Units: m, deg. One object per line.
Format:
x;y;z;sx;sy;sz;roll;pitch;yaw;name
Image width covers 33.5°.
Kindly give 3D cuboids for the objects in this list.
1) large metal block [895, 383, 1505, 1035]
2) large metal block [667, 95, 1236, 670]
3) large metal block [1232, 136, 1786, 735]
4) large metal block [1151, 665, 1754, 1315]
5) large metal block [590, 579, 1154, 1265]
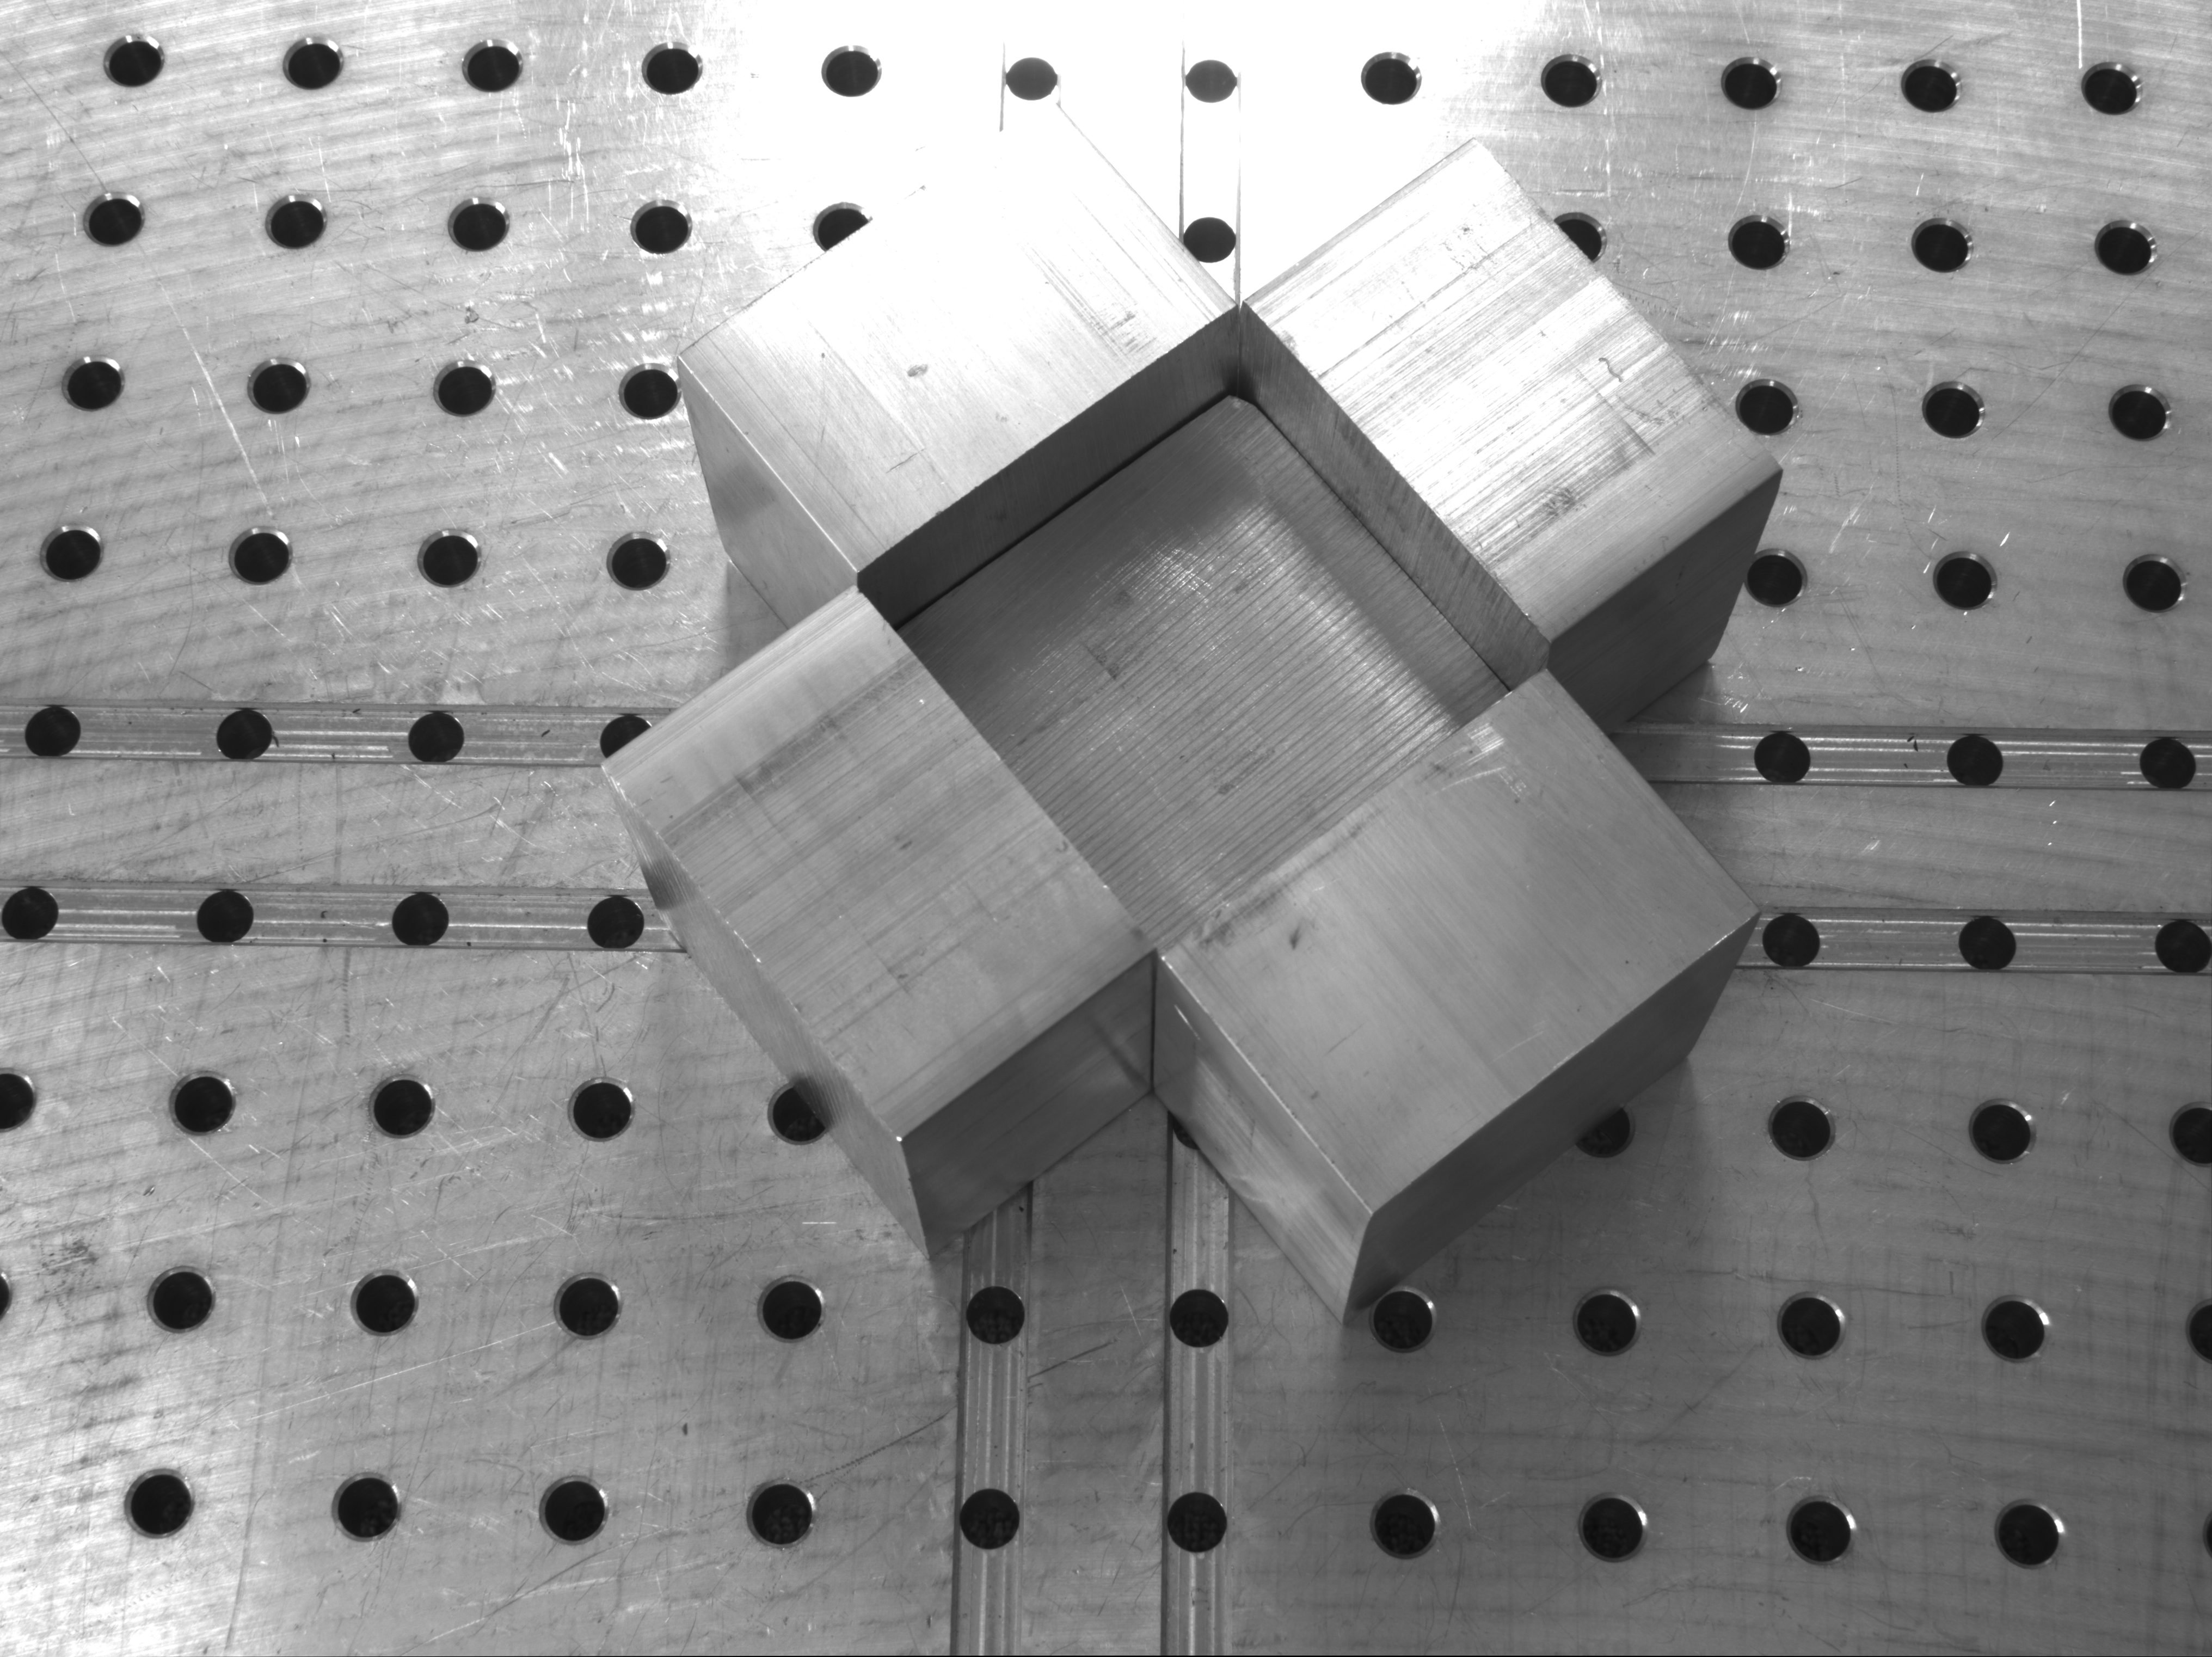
0.016;-0.016;0.639;0.080;0.050;0.080;-37;73;-10;large metal block
-0.025;-0.069;0.644;0.080;0.080;0.050;-37;74;-12;large metal block
0.066;-0.059;0.641;0.050;0.080;0.080;-37;74;-13;large metal block
0.054;0.029;0.609;0.080;0.080;0.050;-35;74;-12;large metal block
-0.037;0.018;0.612;0.050;0.080;0.080;-37;74;-12;large metal block
